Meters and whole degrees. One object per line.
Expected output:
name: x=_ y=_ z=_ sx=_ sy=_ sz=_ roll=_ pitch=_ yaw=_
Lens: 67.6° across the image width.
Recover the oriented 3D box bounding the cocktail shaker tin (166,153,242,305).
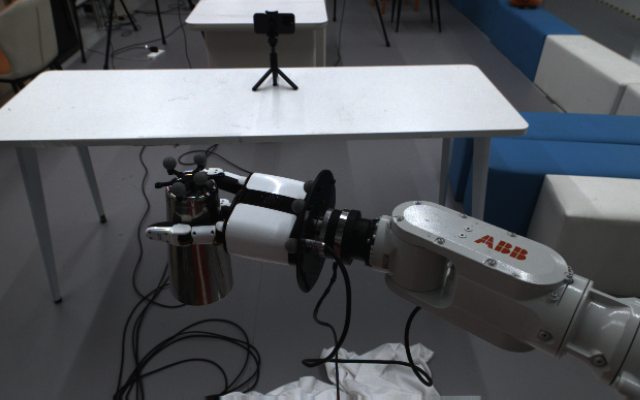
cocktail shaker tin: x=-0.169 y=0.050 z=0.674 sx=0.093 sy=0.170 sz=0.093 roll=3 pitch=33 yaw=-2
